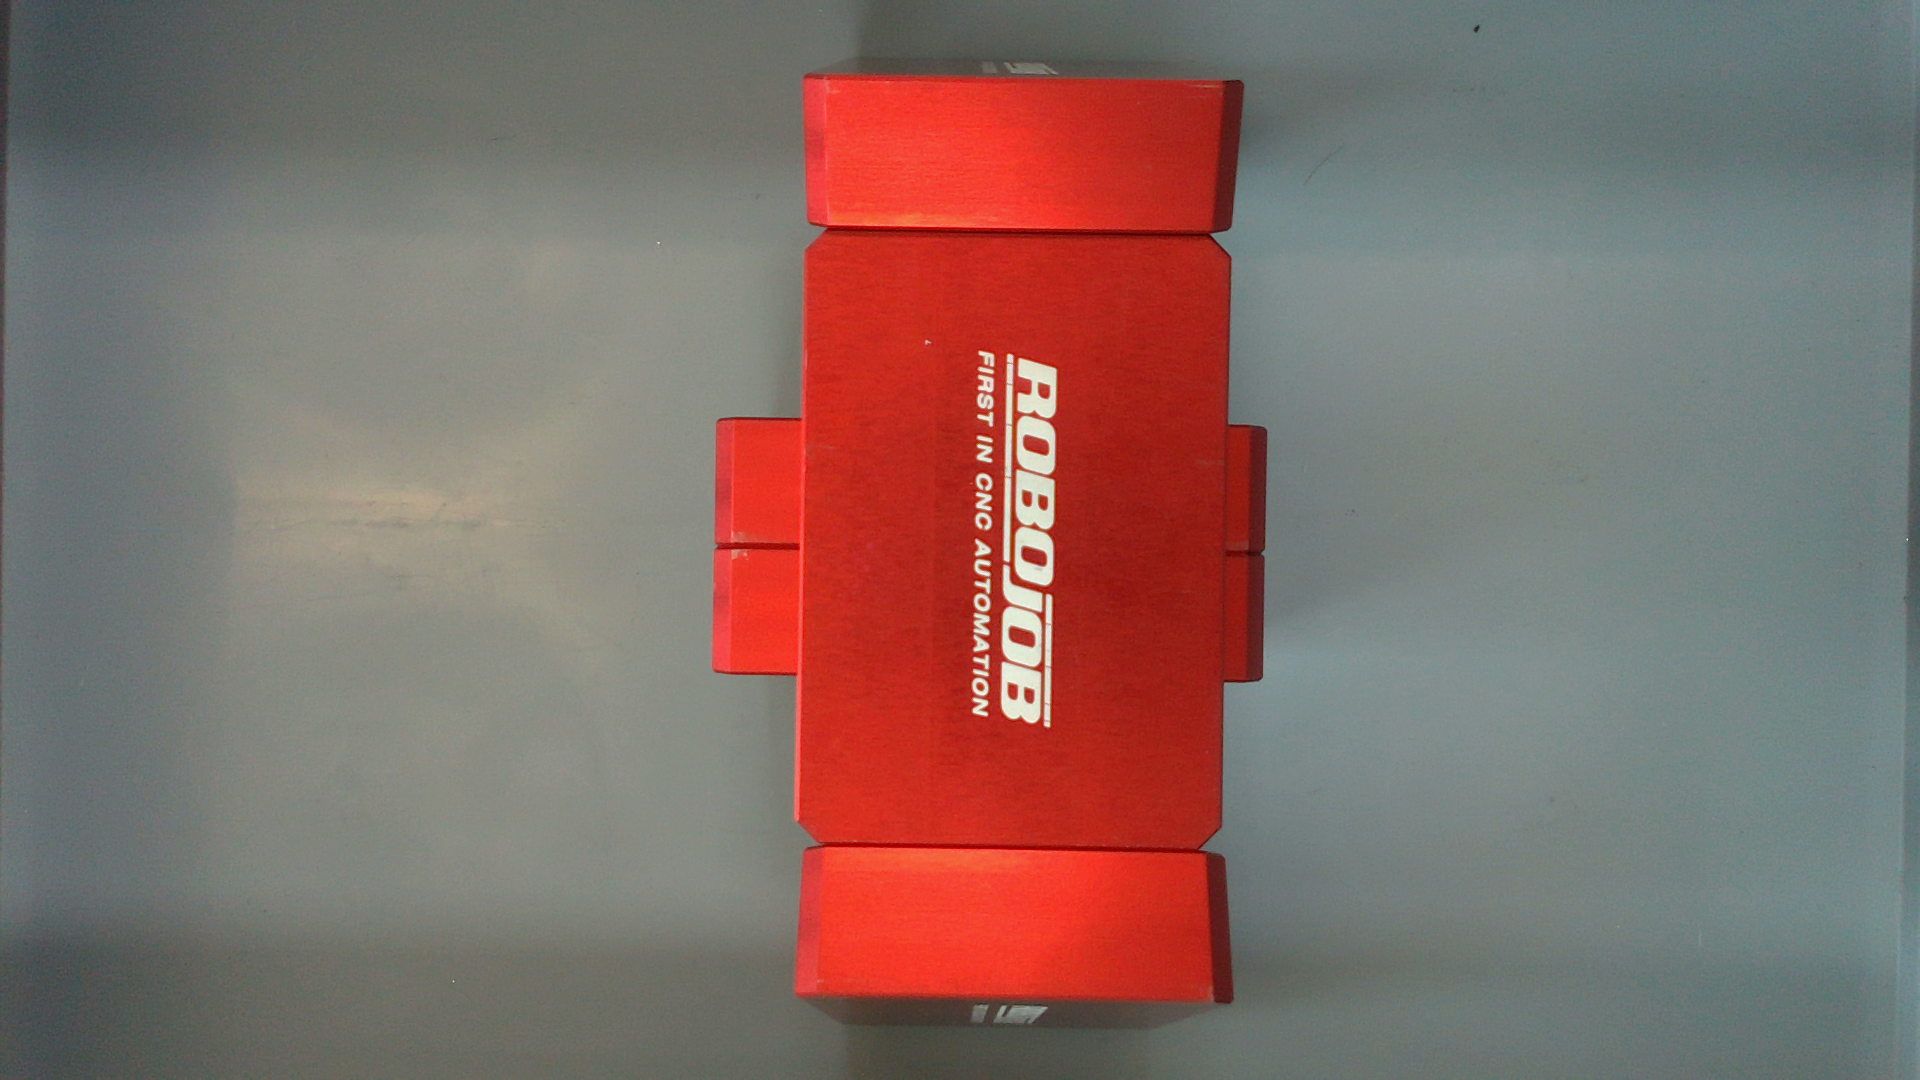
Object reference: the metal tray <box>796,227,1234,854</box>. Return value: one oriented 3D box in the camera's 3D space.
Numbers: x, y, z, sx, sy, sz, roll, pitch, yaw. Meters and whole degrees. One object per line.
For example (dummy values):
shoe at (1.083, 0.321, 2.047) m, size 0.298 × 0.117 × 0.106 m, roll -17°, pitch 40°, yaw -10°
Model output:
metal tray at (0.012, 0.000, 0.301) m, size 0.090 × 0.030 × 0.130 m, roll 1°, pitch 90°, yaw -1°

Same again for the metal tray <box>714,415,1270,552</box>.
metal tray at (0.008, -0.013, 0.362) m, size 0.130 × 0.090 × 0.030 m, roll 1°, pitch 90°, yaw 0°

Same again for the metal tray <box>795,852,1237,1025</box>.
metal tray at (0.011, 0.103, 0.341) m, size 0.090 × 0.130 × 0.030 m, roll 0°, pitch 68°, yaw -1°

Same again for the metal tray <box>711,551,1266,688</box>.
metal tray at (0.007, 0.018, 0.363) m, size 0.130 × 0.090 × 0.030 m, roll 1°, pitch 90°, yaw 0°

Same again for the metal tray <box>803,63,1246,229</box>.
metal tray at (0.013, -0.102, 0.341) m, size 0.090 × 0.130 × 0.030 m, roll 1°, pitch 111°, yaw 0°
